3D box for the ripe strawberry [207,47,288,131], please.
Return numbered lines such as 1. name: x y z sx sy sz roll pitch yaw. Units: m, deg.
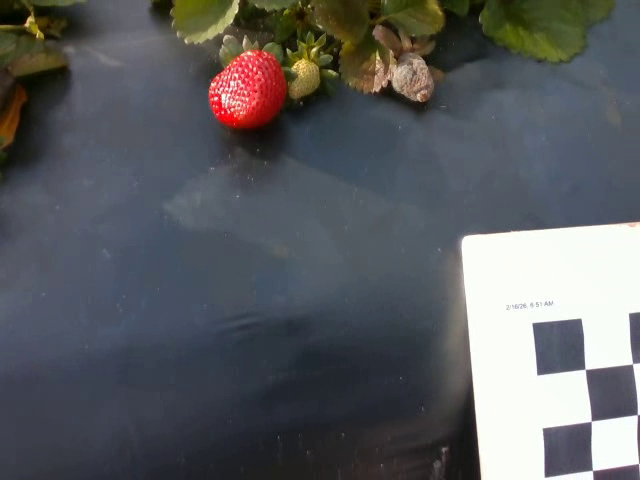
1. ripe strawberry: -0.036 -0.072 0.310 0.045 0.051 0.058 -1 38 -8
